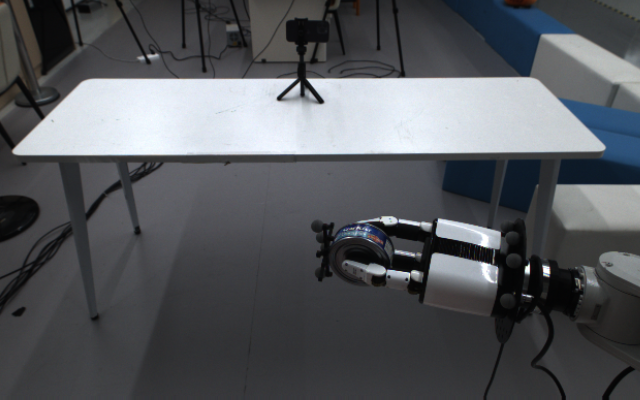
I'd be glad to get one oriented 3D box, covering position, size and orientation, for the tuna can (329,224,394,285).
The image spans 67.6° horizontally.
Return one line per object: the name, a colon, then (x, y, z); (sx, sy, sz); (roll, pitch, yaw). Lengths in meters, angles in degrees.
tuna can: (0.058, 0.075, 0.649); (0.085, 0.085, 0.034); (9, 32, 10)
